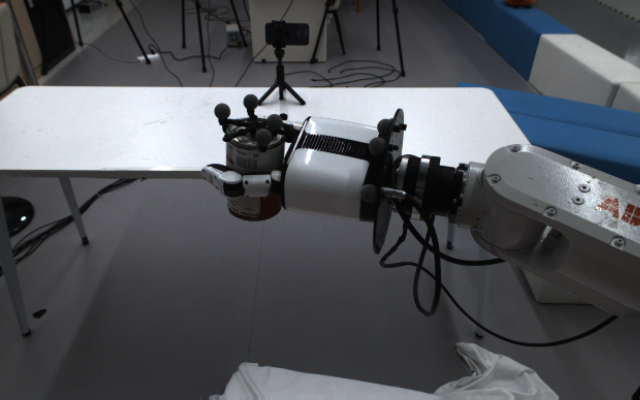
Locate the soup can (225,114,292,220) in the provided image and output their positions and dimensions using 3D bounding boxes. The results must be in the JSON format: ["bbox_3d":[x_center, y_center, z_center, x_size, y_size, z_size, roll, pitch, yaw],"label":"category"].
[{"bbox_3d":[-0.074,-0.035,0.564,0.067,0.101,0.067,5,37,-4],"label":"soup can"}]
